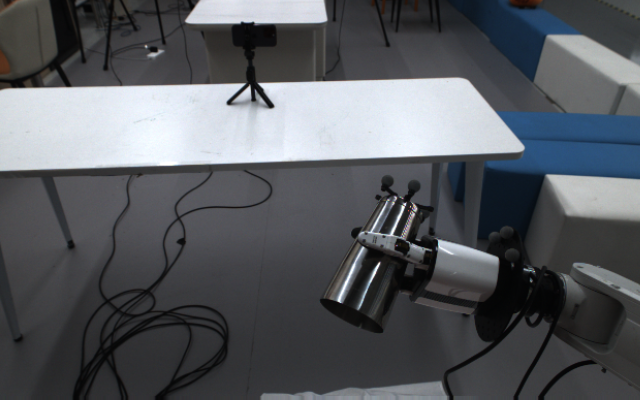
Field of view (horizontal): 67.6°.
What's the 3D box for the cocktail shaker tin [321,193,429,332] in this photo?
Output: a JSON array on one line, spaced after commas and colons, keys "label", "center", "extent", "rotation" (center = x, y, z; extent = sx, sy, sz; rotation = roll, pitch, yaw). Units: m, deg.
[{"label": "cocktail shaker tin", "center": [0.080, 0.078, 0.652], "extent": [0.093, 0.093, 0.170], "rotation": [18, 66, 21]}]
